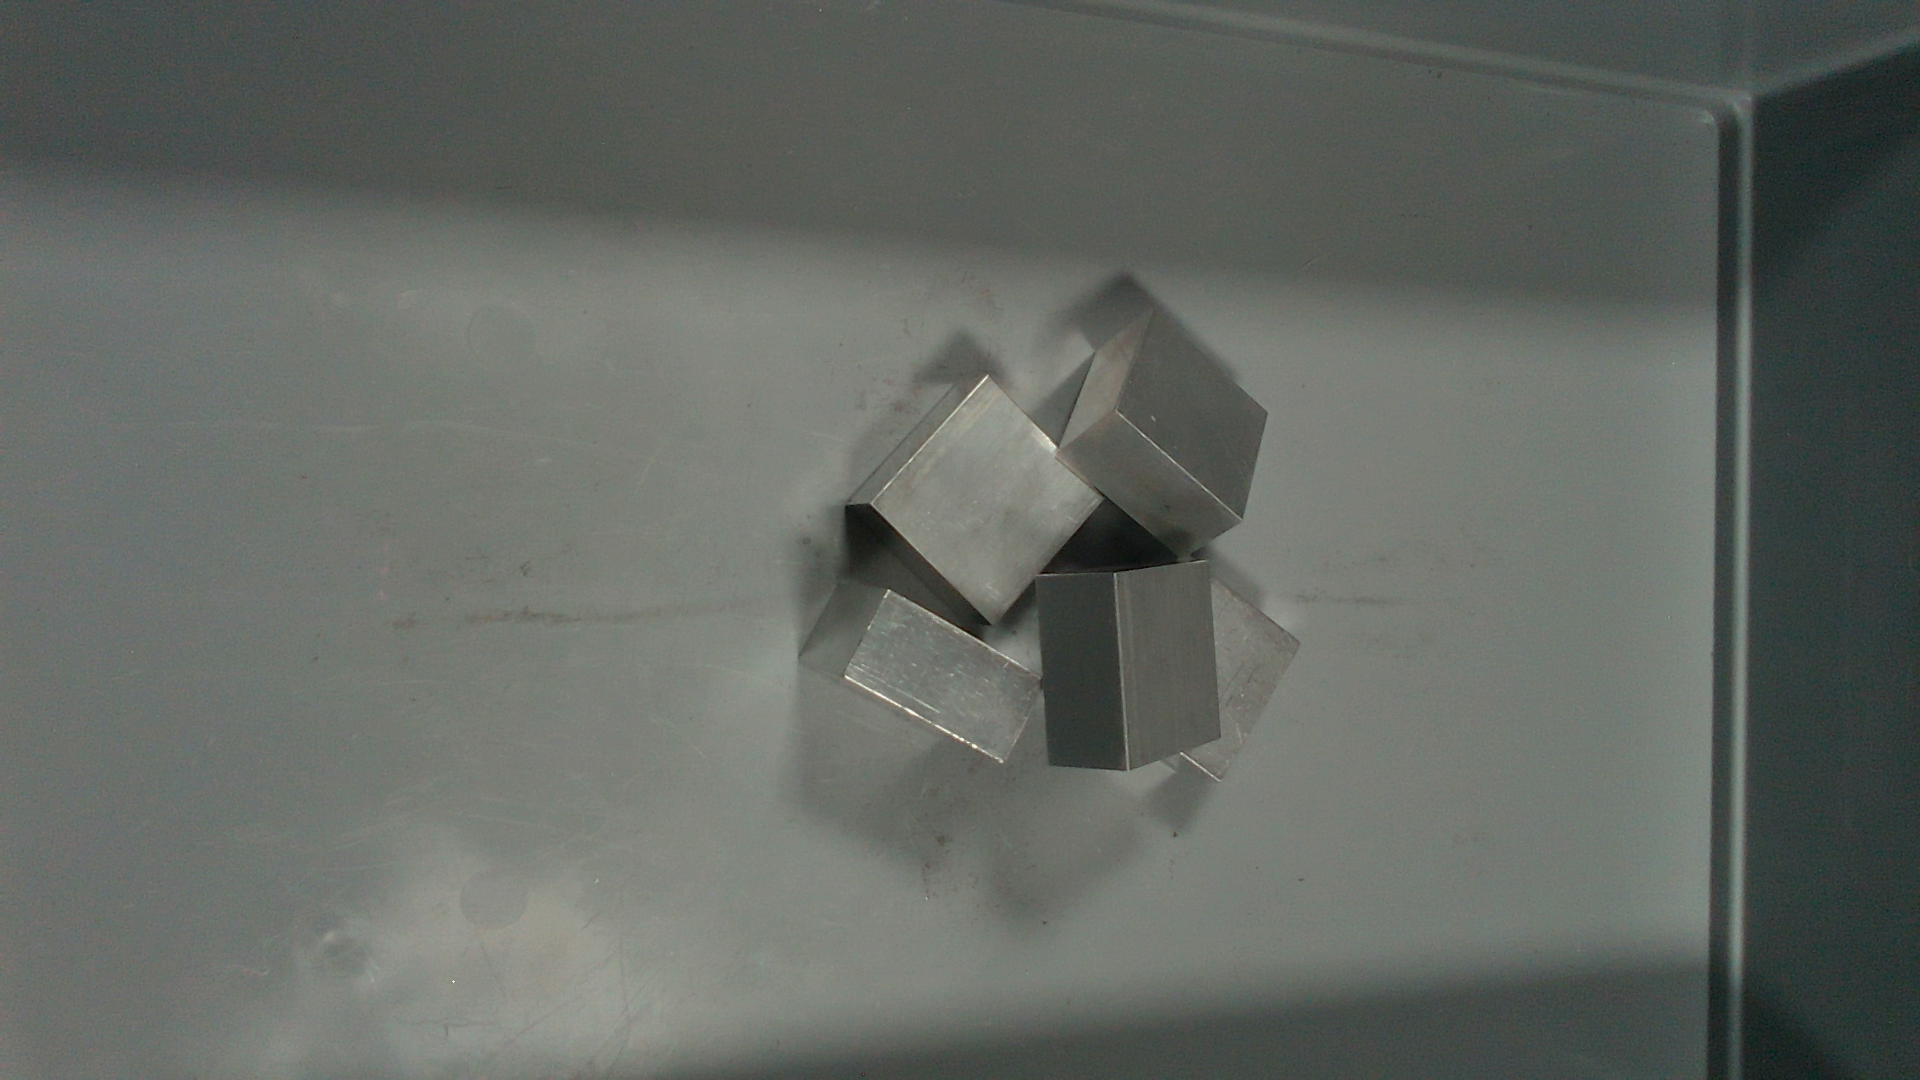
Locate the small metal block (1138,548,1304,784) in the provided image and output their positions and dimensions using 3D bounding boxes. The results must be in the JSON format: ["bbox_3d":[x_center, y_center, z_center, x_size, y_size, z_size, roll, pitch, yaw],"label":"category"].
[{"bbox_3d":[0.067,0.037,0.416,0.050,0.025,0.050,37,78,-16],"label":"small metal block"}]

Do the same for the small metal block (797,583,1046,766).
[{"bbox_3d":[-0.012,0.035,0.374,0.050,0.050,0.025,31,80,-17],"label":"small metal block"}]

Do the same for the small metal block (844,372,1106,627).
[{"bbox_3d":[0.004,-0.011,0.393,0.050,0.025,0.050,45,76,-14],"label":"small metal block"}]

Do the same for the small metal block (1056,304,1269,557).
[{"bbox_3d":[0.060,-0.032,0.402,0.050,0.025,0.050,39,45,-16],"label":"small metal block"}]

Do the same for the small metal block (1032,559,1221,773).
[{"bbox_3d":[0.046,0.032,0.370,0.050,0.025,0.050,-5,92,-52],"label":"small metal block"}]
